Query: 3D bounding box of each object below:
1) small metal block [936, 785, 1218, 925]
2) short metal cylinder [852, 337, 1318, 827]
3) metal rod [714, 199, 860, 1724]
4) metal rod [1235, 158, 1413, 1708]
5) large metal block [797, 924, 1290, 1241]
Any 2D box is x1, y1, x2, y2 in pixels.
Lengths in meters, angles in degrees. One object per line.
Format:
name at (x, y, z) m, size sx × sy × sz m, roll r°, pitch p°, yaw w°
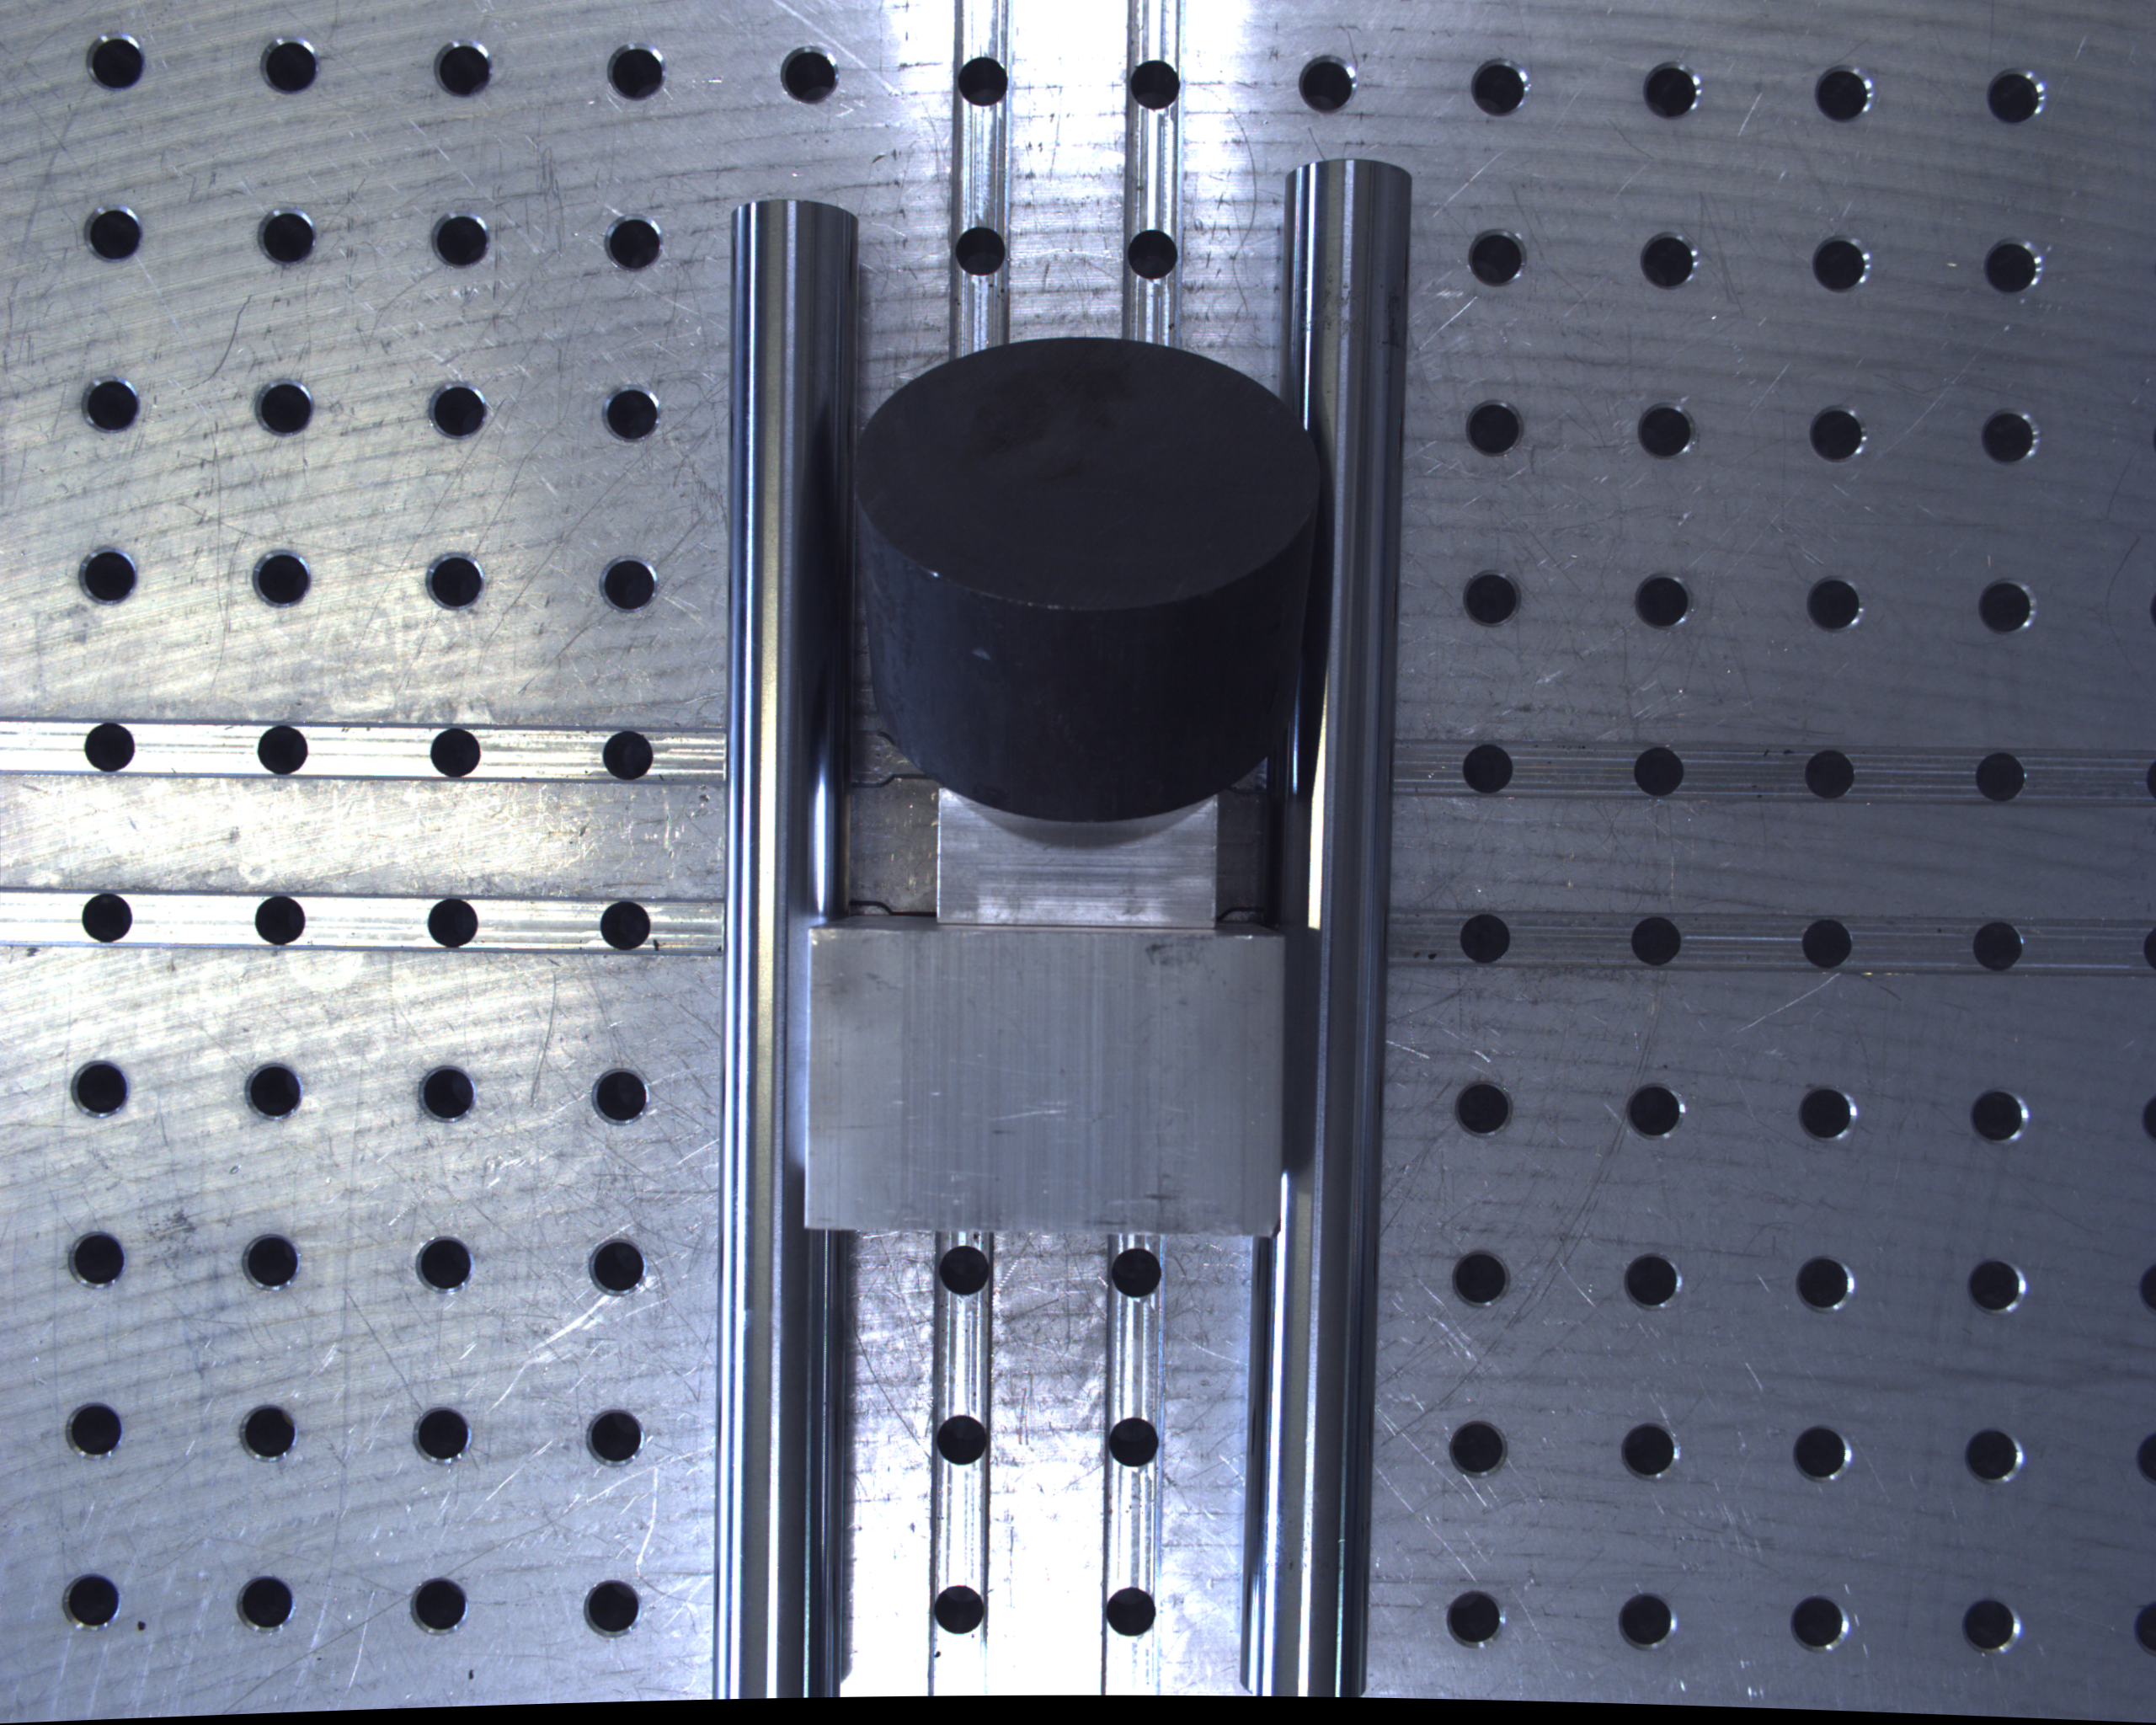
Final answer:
small metal block at (0.000, -0.001, 0.401) m, size 0.050 × 0.050 × 0.025 m, roll 1°, pitch 90°, yaw -1°
short metal cylinder at (0.001, -0.052, 0.379) m, size 0.081 × 0.050 × 0.080 m, roll 1°, pitch 46°, yaw -1°
metal rod at (-0.058, 0.022, 0.413) m, size 0.025 × 0.025 × 0.298 m, roll 1°, pitch 90°, yaw 0°
metal rod at (0.049, 0.014, 0.413) m, size 0.025 × 0.025 × 0.298 m, roll 2°, pitch 90°, yaw 0°
large metal block at (-0.006, 0.037, 0.383) m, size 0.081 × 0.080 × 0.050 m, roll 1°, pitch 90°, yaw 0°
